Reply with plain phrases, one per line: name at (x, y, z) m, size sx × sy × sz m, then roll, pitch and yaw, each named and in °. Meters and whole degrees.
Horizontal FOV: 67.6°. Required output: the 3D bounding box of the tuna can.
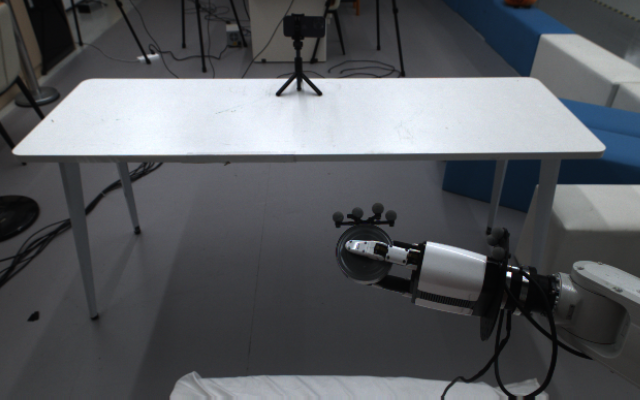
tuna can at (0.067, 0.078, 0.708) m, size 0.085 × 0.034 × 0.085 m, roll -3°, pitch 66°, yaw 7°
